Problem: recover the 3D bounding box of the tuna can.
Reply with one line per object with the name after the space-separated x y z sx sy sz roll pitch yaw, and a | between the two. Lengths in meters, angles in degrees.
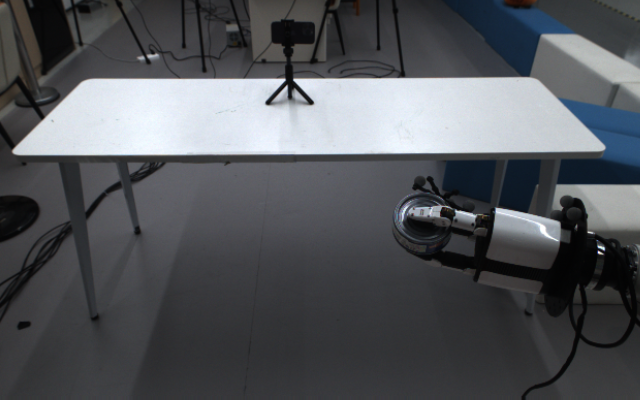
0.148 0.030 0.685 0.085 0.034 0.085 -4 58 6 | tuna can
